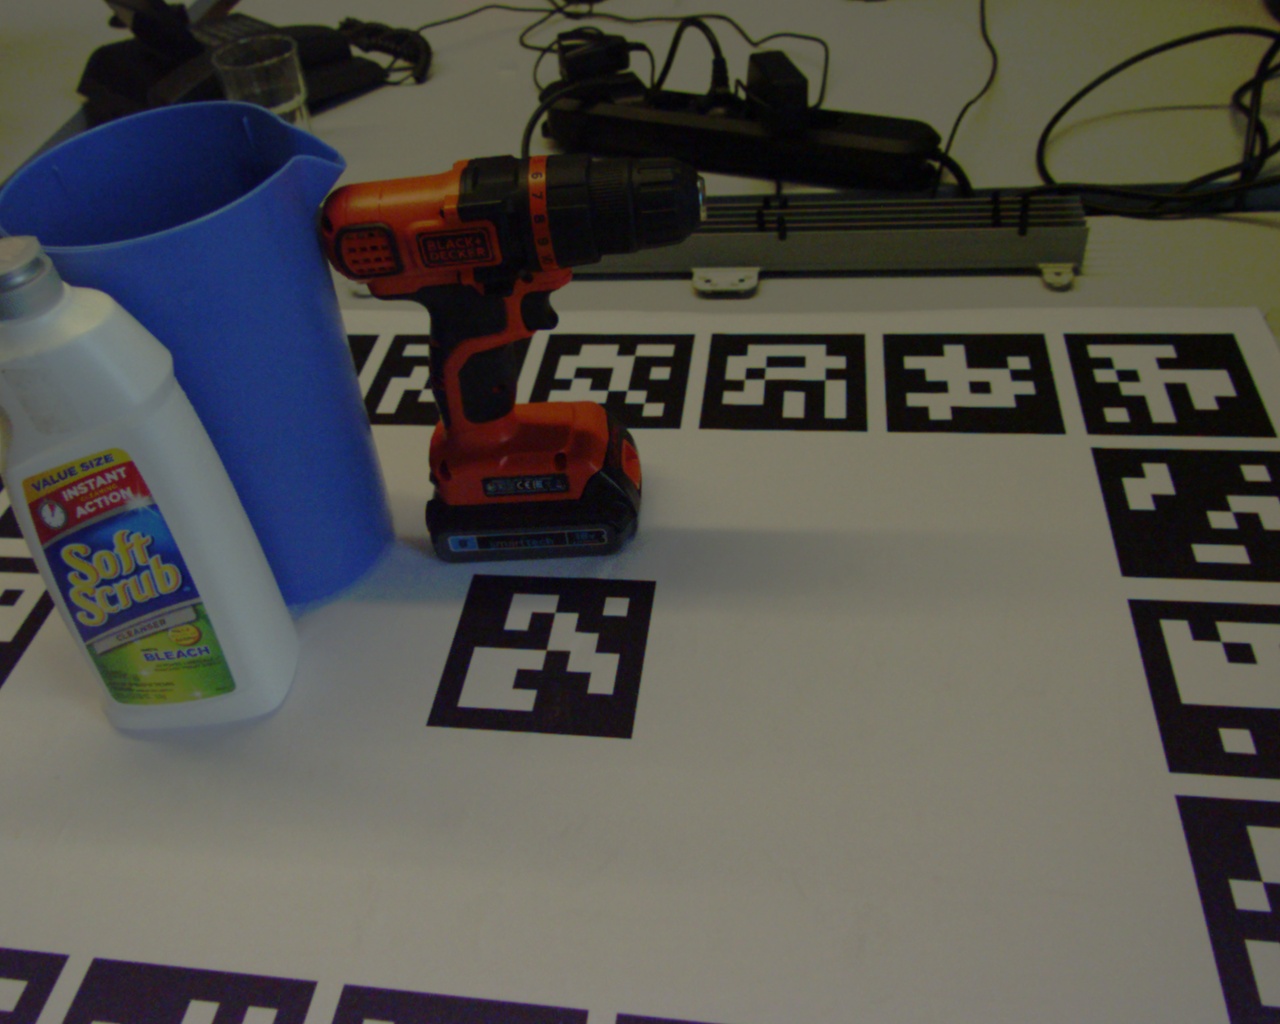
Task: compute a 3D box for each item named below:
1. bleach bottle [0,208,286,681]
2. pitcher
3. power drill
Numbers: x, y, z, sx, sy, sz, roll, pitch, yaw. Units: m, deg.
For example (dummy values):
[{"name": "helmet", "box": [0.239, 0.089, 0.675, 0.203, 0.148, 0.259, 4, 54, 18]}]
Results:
[{"name": "bleach bottle", "box": [-0.246, -0.021, 0.520, 0.103, 0.249, 0.068, -3, 46, 4]}, {"name": "pitcher", "box": [-0.220, -0.081, 0.601, 0.188, 0.241, 0.134, -17, 48, -9]}, {"name": "power drill", "box": [-0.051, -0.080, 0.592, 0.185, 0.186, 0.057, 3, 49, 1]}]
